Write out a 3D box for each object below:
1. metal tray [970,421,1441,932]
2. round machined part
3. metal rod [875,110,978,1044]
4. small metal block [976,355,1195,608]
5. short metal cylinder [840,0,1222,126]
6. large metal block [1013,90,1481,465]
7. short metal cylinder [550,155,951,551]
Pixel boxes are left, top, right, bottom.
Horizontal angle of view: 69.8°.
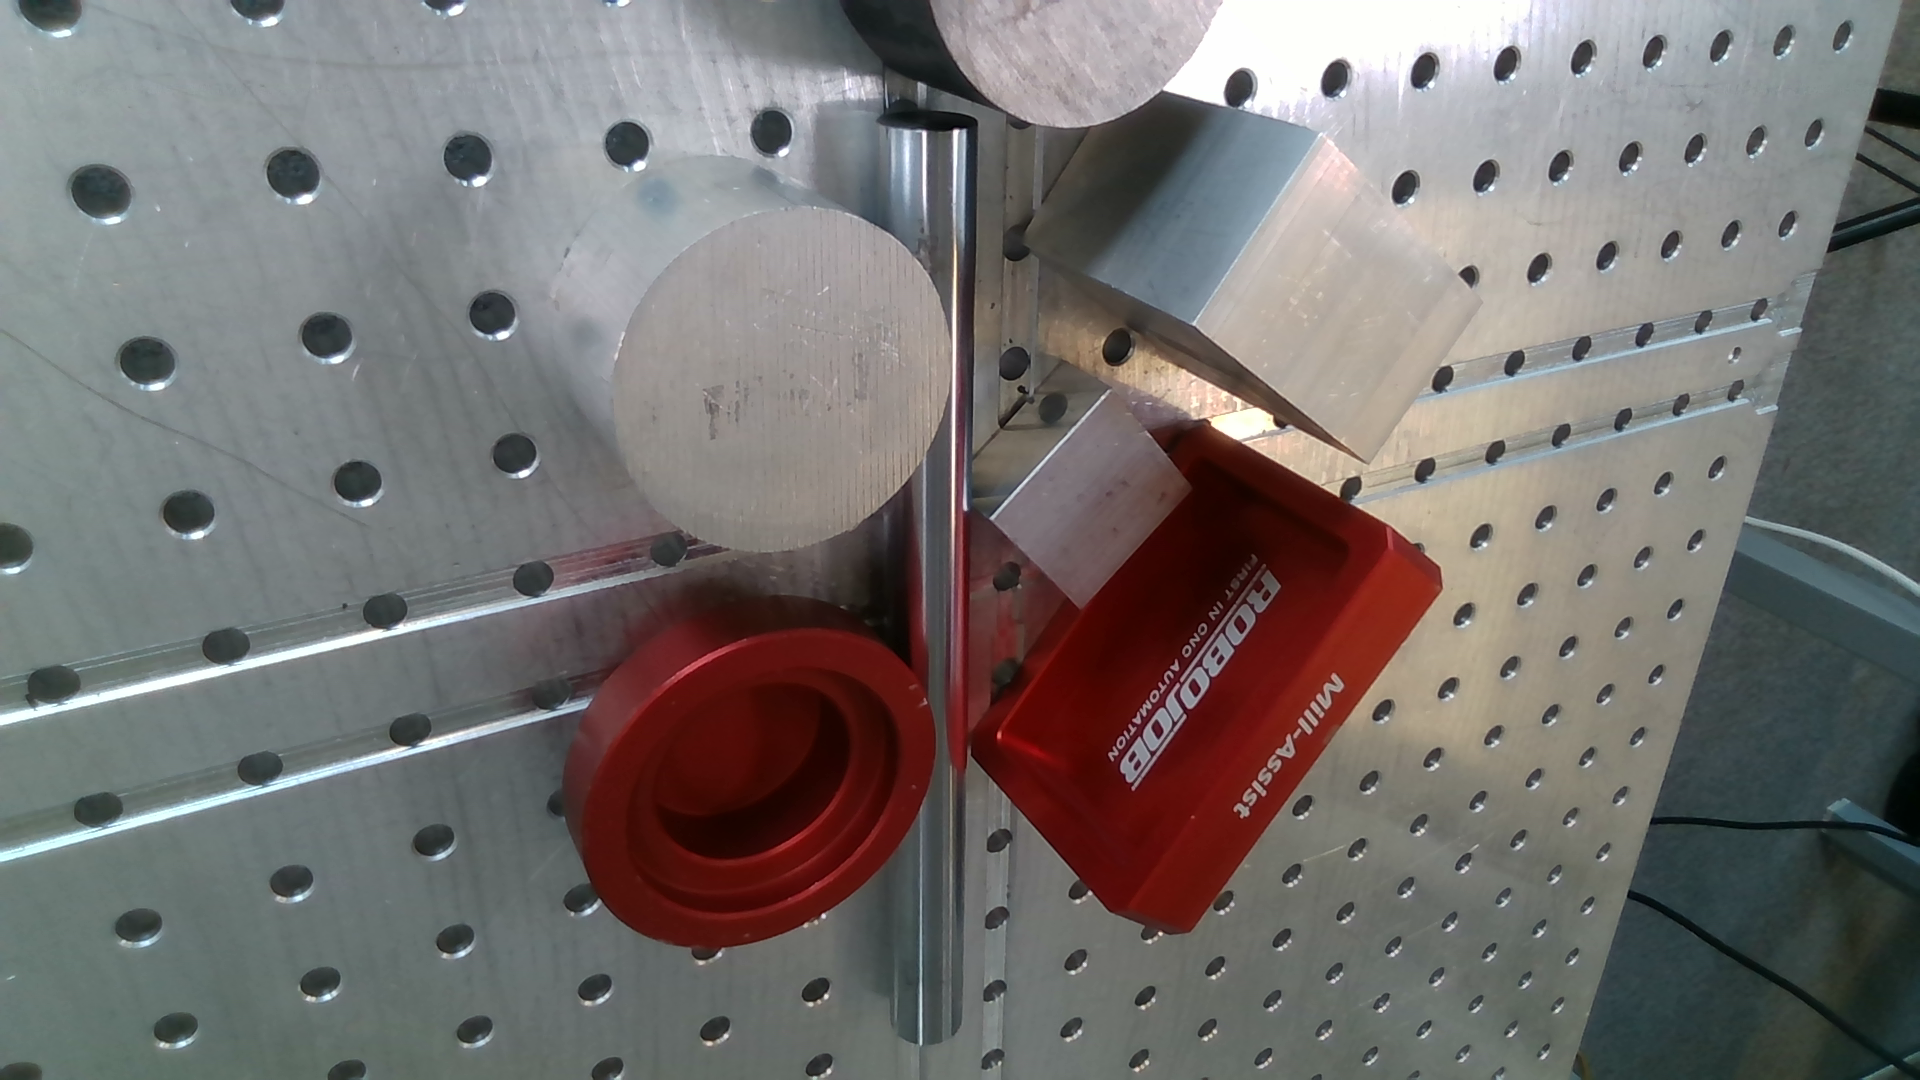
[{"bbox_3d":[0.068,0.038,0.413,0.030,0.090,0.130,30,97,-39],"label":"metal tray"},{"bbox_3d":[-0.060,0.058,0.377,0.098,0.042,0.098,-14,122,-25],"label":"round machined part"},{"bbox_3d":[-0.010,0.031,0.404,0.025,0.025,0.301,-14,121,-25],"label":"metal rod"},{"bbox_3d":[0.033,-0.017,0.405,0.050,0.025,0.050,-47,129,-2],"label":"small metal block"},{"bbox_3d":[0.015,-0.139,0.310,0.080,0.050,0.080,-14,122,-25],"label":"short metal cylinder"},{"bbox_3d":[0.075,-0.072,0.365,0.080,0.080,0.050,28,99,-39],"label":"large metal block"},{"bbox_3d":[-0.049,-0.044,0.322,0.080,0.050,0.080,-14,122,-25],"label":"short metal cylinder"}]
